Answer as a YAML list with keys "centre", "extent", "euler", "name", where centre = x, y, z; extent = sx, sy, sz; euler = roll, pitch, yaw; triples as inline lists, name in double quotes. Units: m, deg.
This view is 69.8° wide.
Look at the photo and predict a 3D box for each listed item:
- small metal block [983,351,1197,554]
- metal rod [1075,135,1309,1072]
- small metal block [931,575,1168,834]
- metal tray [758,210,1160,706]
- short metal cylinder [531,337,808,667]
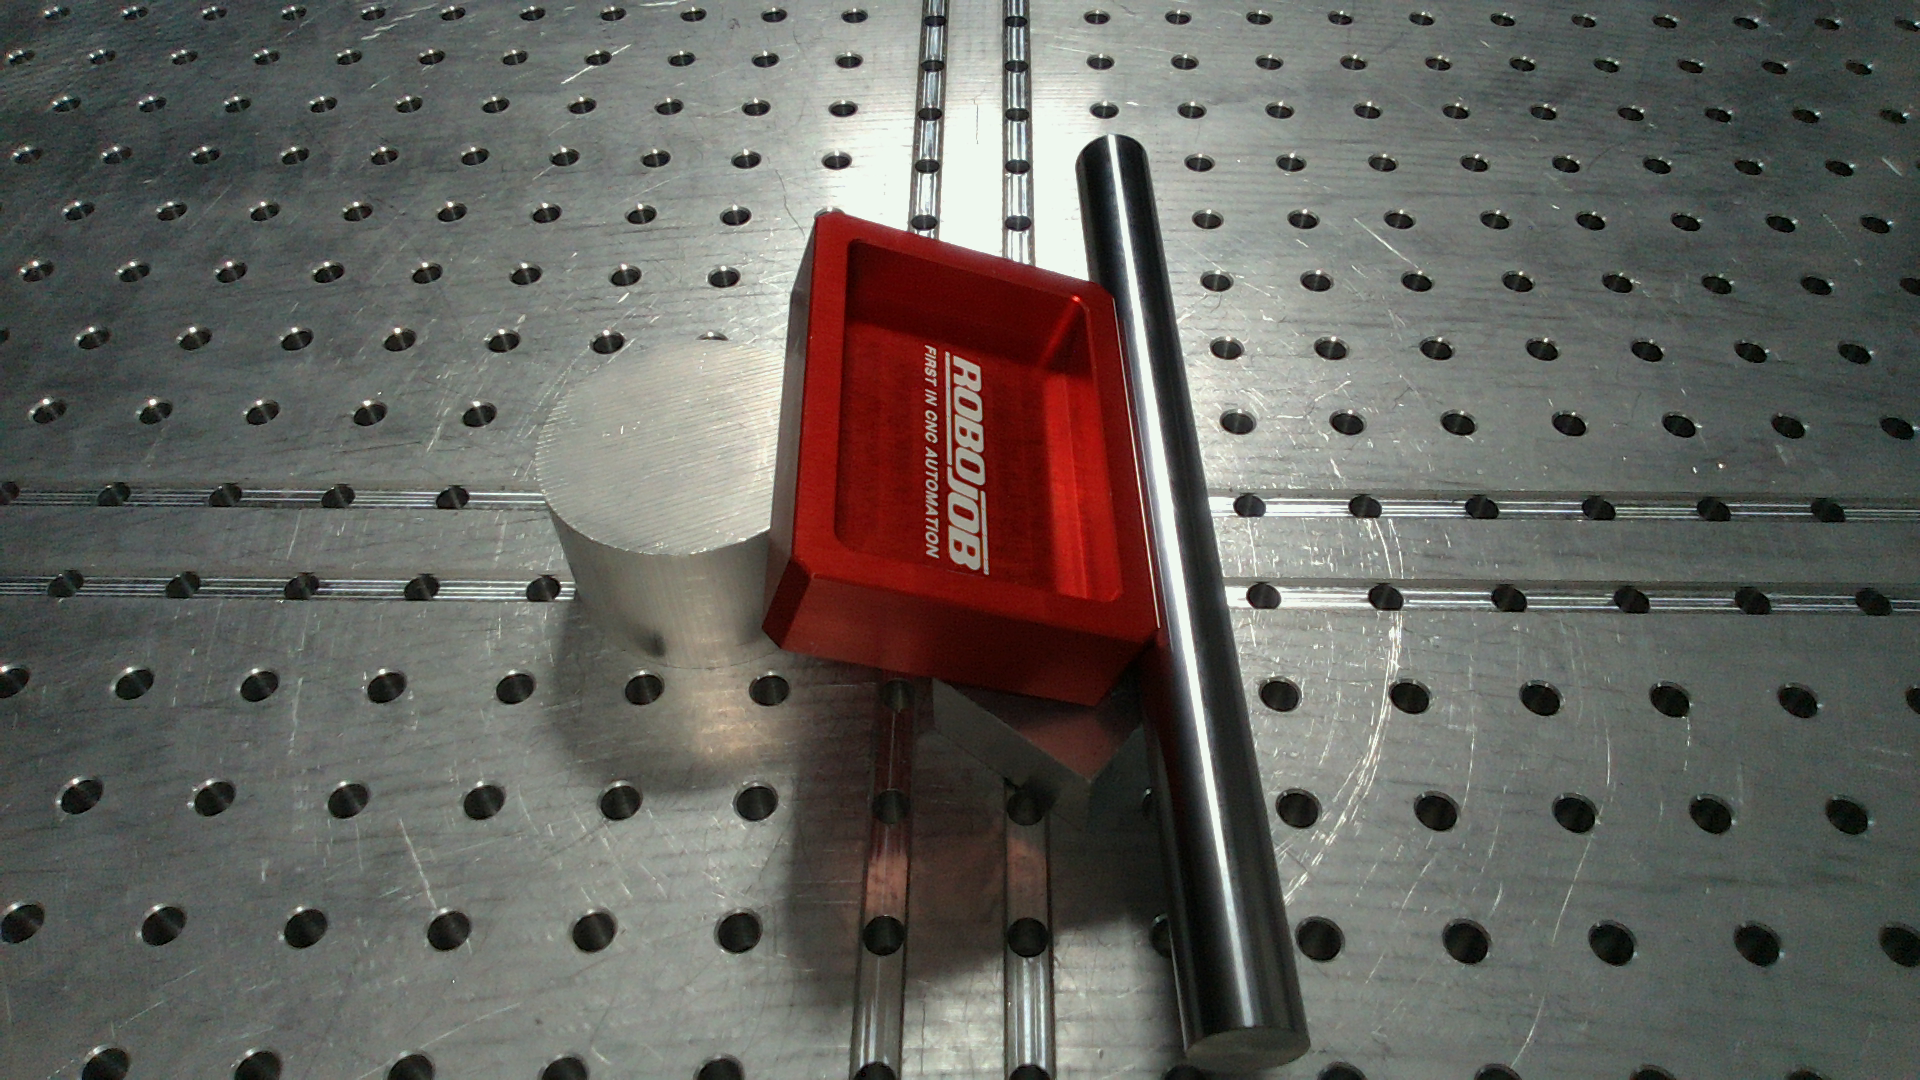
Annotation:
- centre: [0.038, -0.027, 0.418]
  extent: [0.050, 0.025, 0.050]
  euler: [-12, 51, -10]
  name: "small metal block"
- centre: [0.054, -0.012, 0.372]
  extent: [0.025, 0.025, 0.300]
  euler: [-1, 50, -1]
  name: "metal rod"
- centre: [0.028, 0.039, 0.360]
  extent: [0.050, 0.025, 0.050]
  euler: [32, 57, 24]
  name: "small metal block"
- centre: [-0.001, -0.025, 0.361]
  extent: [0.090, 0.030, 0.130]
  euler: [12, 48, -16]
  name: "metal tray"
- centre: [-0.074, -0.012, 0.387]
  extent: [0.080, 0.050, 0.080]
  euler: [0, 50, 0]
  name: "short metal cylinder"
